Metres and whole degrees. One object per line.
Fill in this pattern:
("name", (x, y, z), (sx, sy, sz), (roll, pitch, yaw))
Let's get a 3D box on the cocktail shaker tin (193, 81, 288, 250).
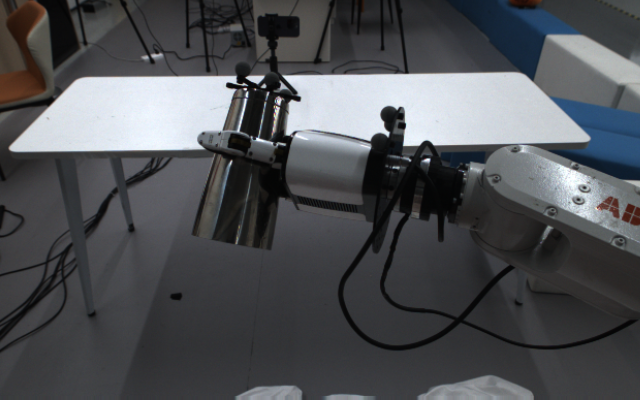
("cocktail shaker tin", (-0.082, -0.034, 0.554), (0.093, 0.170, 0.093), (11, -5, 1))
